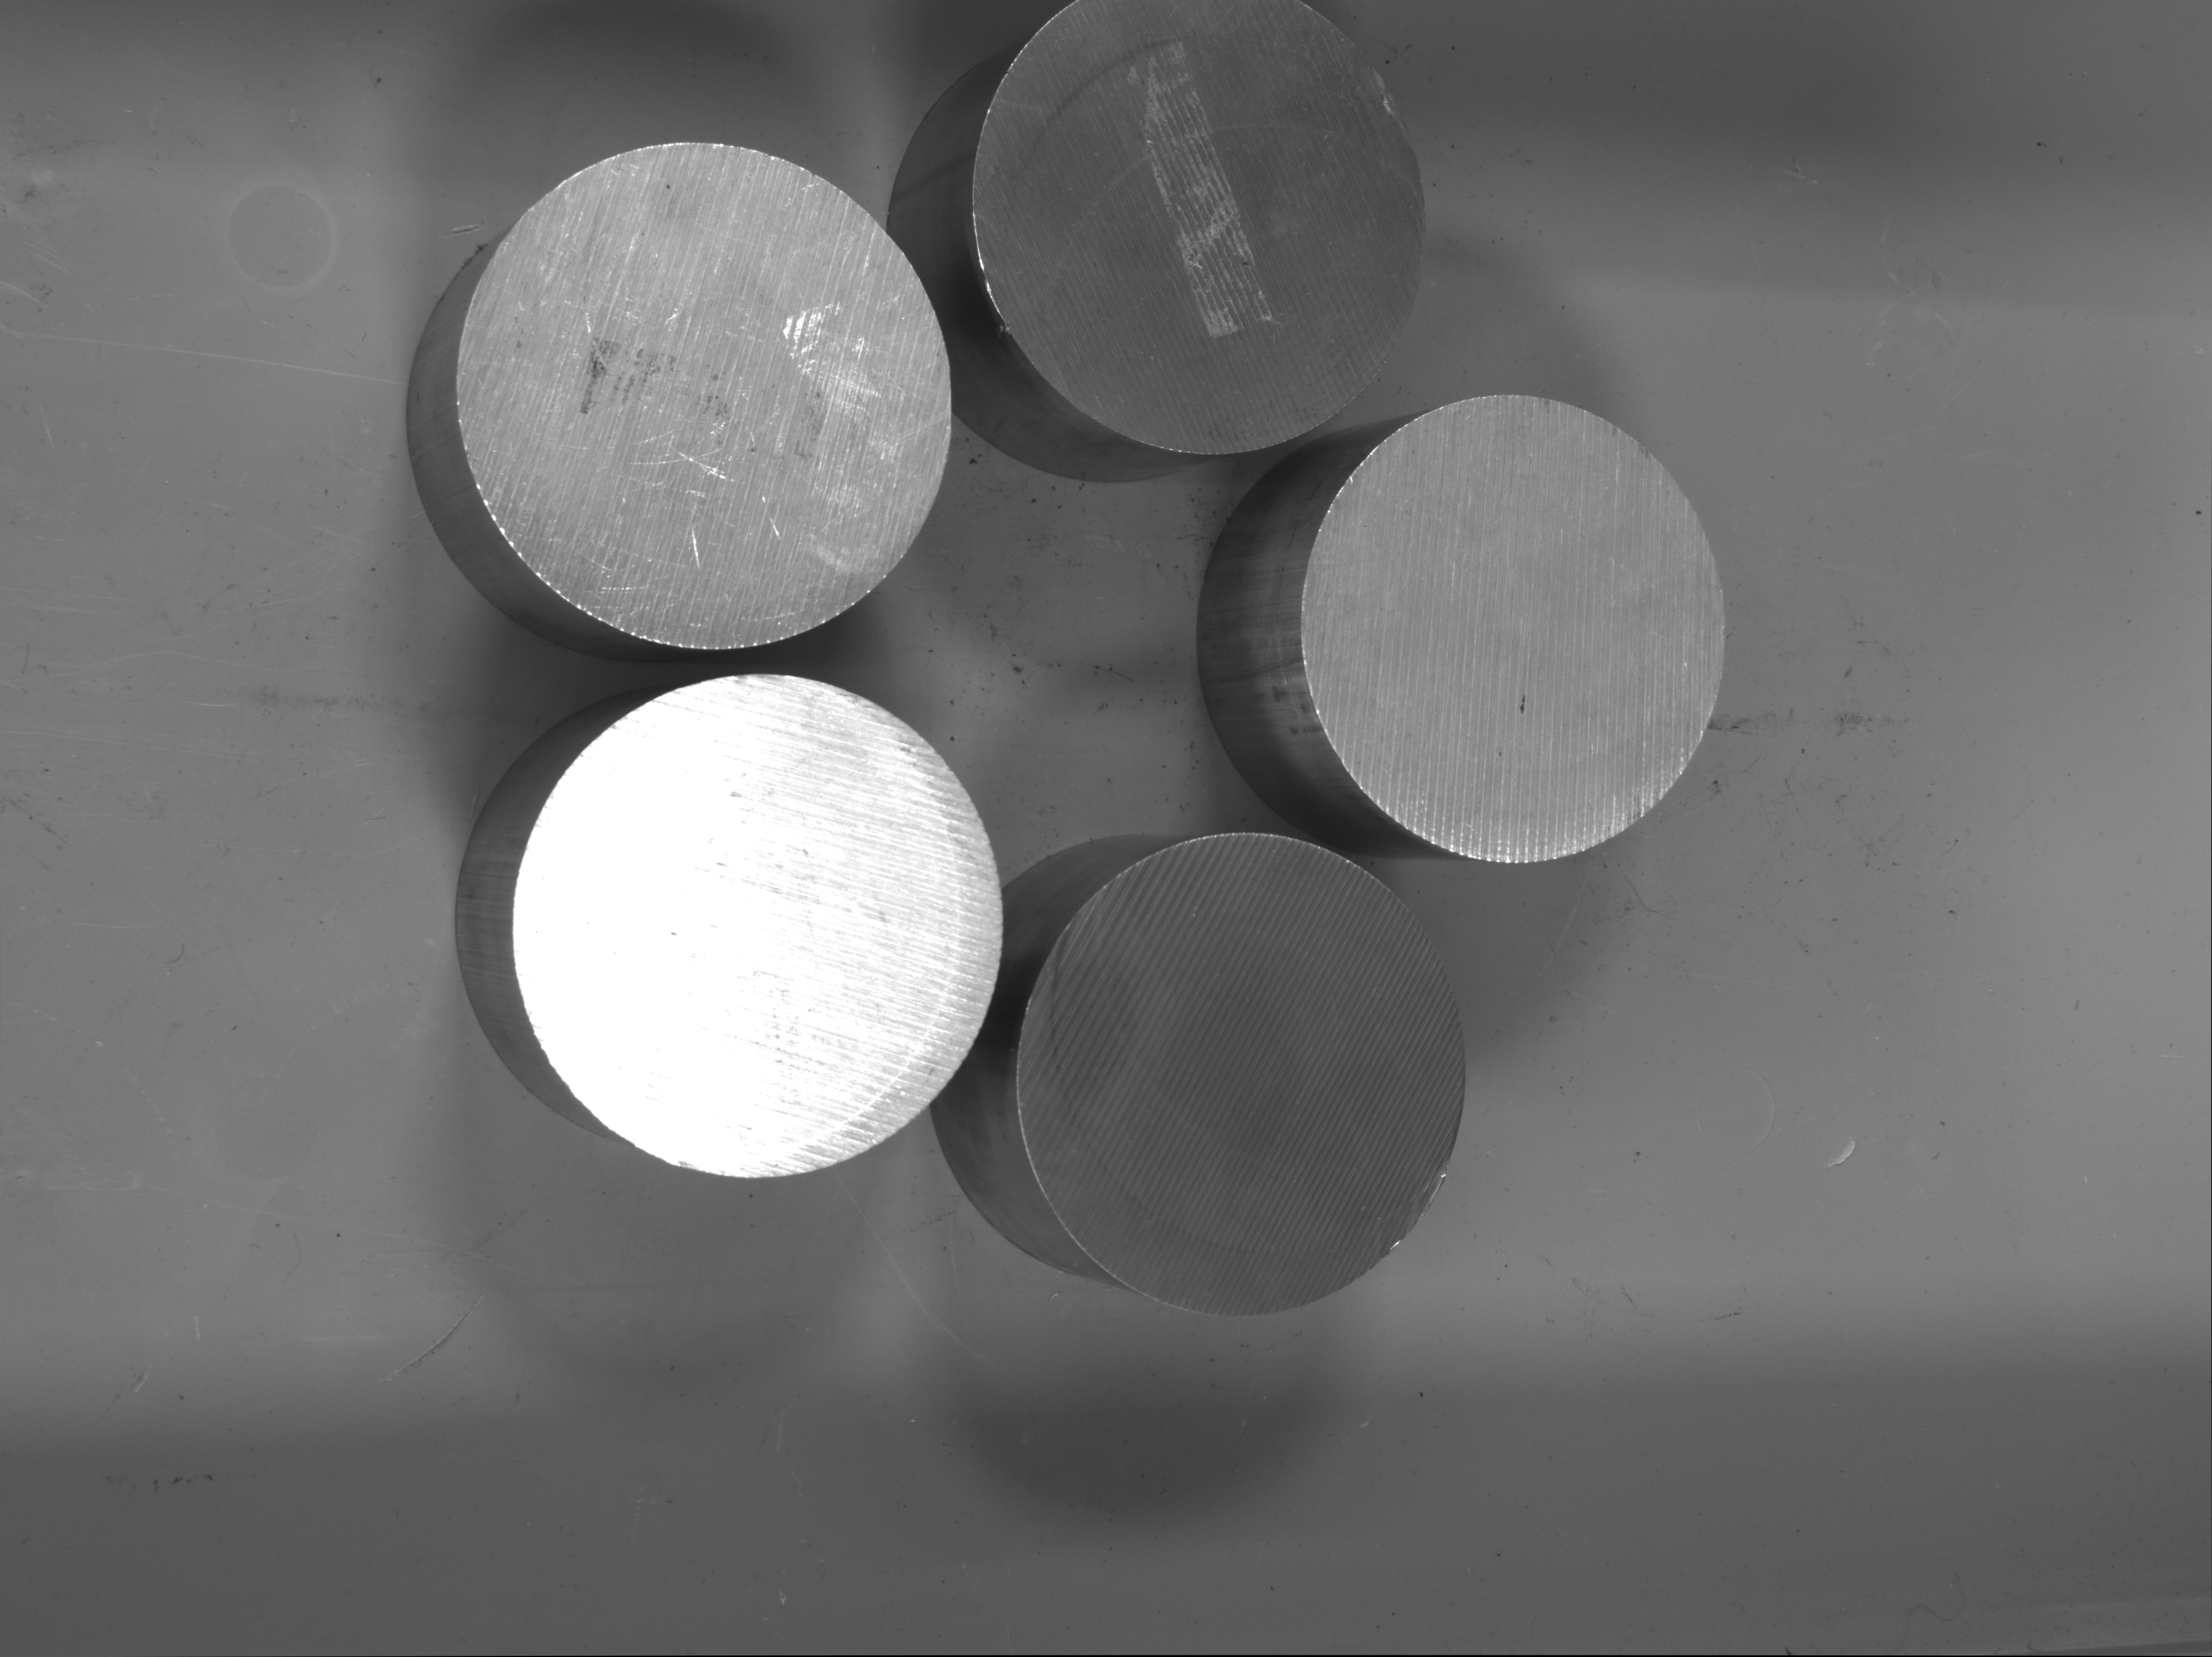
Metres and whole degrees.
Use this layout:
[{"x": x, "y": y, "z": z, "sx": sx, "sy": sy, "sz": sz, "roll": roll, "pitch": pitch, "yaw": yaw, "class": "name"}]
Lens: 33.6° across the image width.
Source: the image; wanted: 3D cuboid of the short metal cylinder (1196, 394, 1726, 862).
[{"x": 0.062, "y": -0.034, "z": 0.650, "sx": 0.080, "sy": 0.050, "sz": 0.080, "roll": 0, "pitch": 90, "yaw": -20, "class": "short metal cylinder"}]

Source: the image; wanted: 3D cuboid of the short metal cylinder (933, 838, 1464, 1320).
[{"x": 0.015, "y": 0.042, "z": 0.633, "sx": 0.080, "sy": 0.050, "sz": 0.080, "roll": 0, "pitch": 90, "yaw": -20, "class": "short metal cylinder"}]

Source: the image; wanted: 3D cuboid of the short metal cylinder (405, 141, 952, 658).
[{"x": -0.071, "y": -0.068, "z": 0.602, "sx": 0.080, "sy": 0.050, "sz": 0.080, "roll": 0, "pitch": 90, "yaw": -20, "class": "short metal cylinder"}]

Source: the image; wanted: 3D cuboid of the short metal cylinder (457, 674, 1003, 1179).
[{"x": -0.063, "y": 0.016, "z": 0.605, "sx": 0.080, "sy": 0.050, "sz": 0.080, "roll": 0, "pitch": 90, "yaw": -20, "class": "short metal cylinder"}]

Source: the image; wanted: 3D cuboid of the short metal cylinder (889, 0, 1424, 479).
[{"x": 0.008, "y": -0.102, "z": 0.631, "sx": 0.080, "sy": 0.050, "sz": 0.080, "roll": 0, "pitch": 90, "yaw": -20, "class": "short metal cylinder"}]
